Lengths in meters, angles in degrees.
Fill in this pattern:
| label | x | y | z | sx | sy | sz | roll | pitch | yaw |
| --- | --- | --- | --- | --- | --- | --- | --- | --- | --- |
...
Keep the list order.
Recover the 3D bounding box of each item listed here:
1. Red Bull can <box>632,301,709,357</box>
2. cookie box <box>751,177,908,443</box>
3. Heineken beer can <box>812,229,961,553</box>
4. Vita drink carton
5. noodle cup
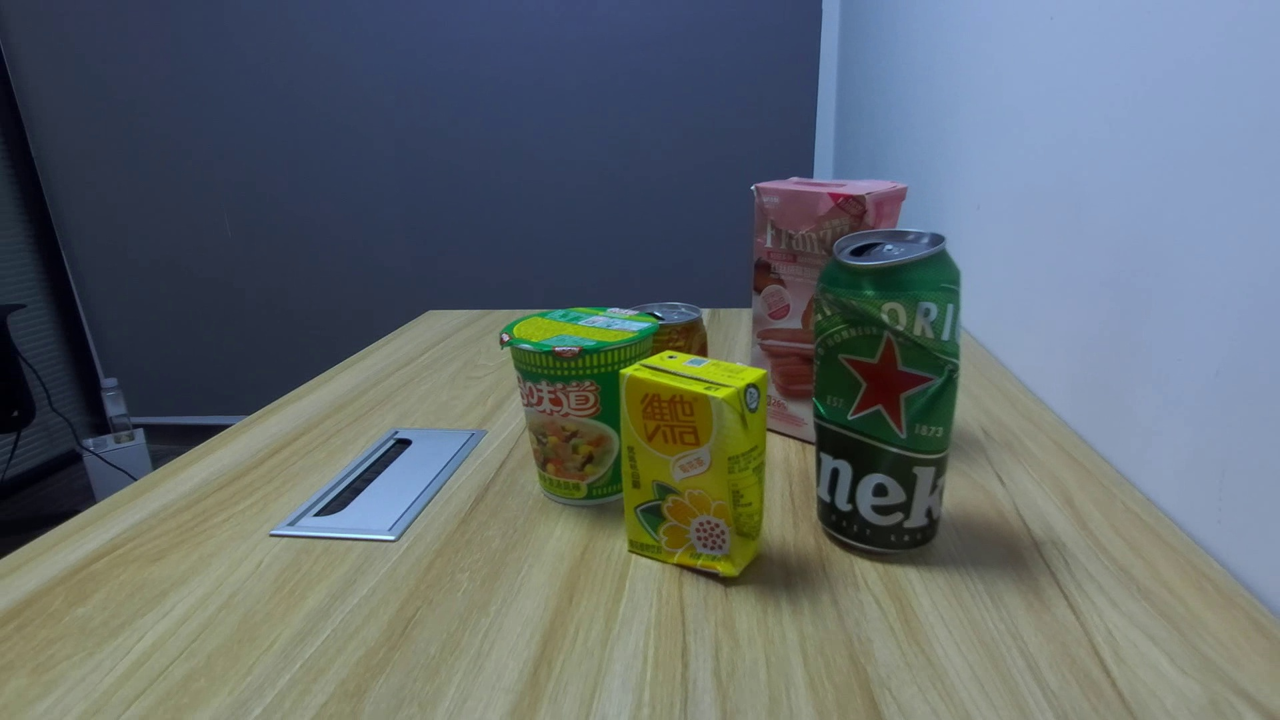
| label | x | y | z | sx | sy | sz | roll | pitch | yaw |
| --- | --- | --- | --- | --- | --- | --- | --- | --- | --- |
| Red Bull can | 0.020 | 0.007 | 0.549 | 0.068 | 0.093 | 0.068 | -2 | 19 | 1 |
| cookie box | 0.129 | -0.032 | 0.502 | 0.060 | 0.186 | 0.104 | -16 | 22 | -38 |
| Heineken beer can | 0.129 | 0.020 | 0.375 | 0.069 | 0.168 | 0.068 | -2 | 19 | 9 |
| Vita drink carton | 0.031 | 0.056 | 0.369 | 0.076 | 0.109 | 0.043 | 13 | 24 | 38 |
| noodle cup | -0.035 | 0.029 | 0.457 | 0.097 | 0.110 | 0.097 | -2 | 19 | 1 |
